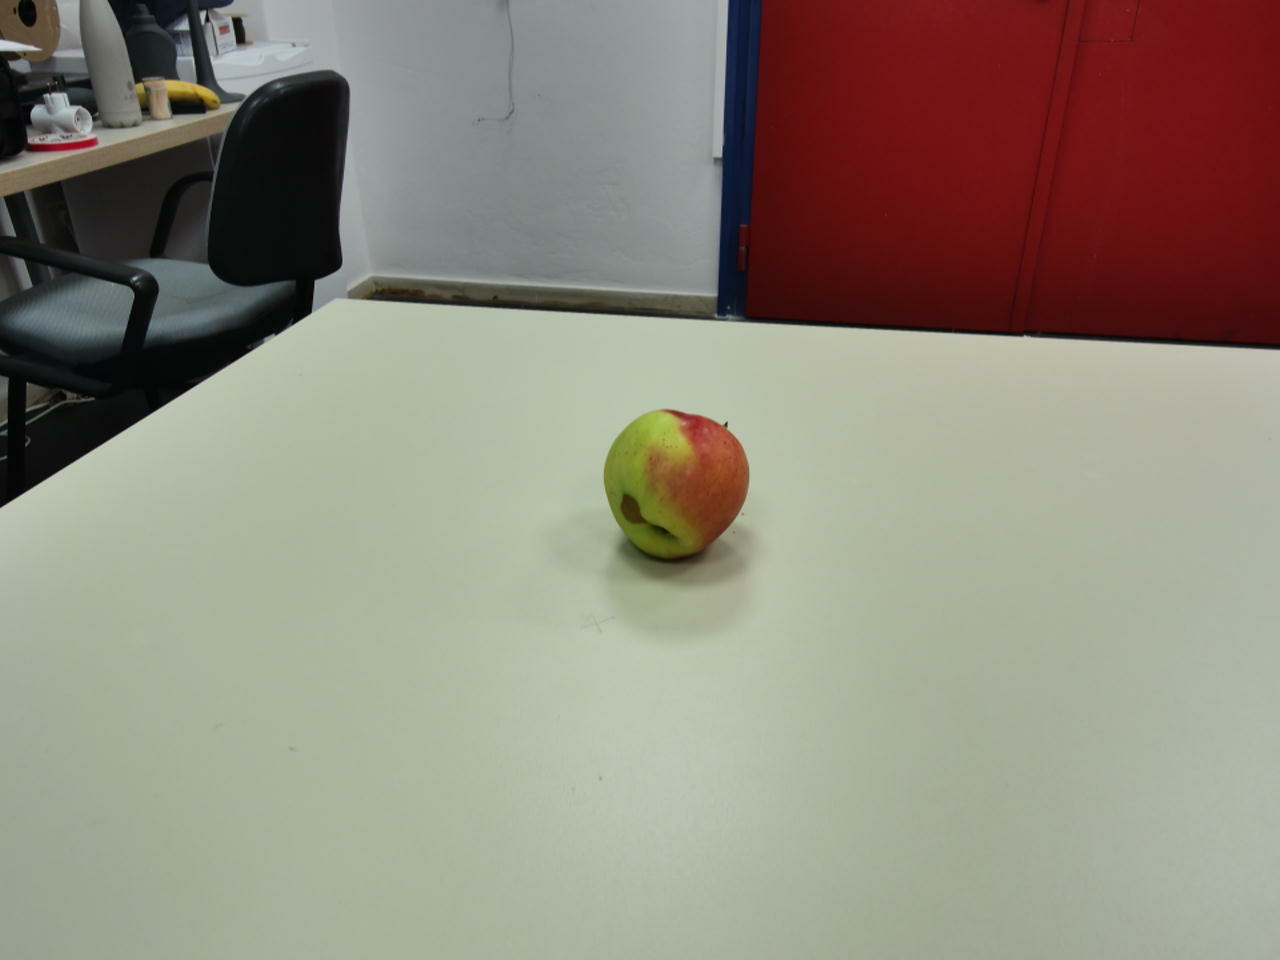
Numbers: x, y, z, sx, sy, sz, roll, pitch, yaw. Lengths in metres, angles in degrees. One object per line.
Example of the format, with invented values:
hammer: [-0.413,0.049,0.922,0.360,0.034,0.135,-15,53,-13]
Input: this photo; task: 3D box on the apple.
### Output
apple: [0.019,0.002,0.512,0.075,0.074,0.075,-3,25,-7]
